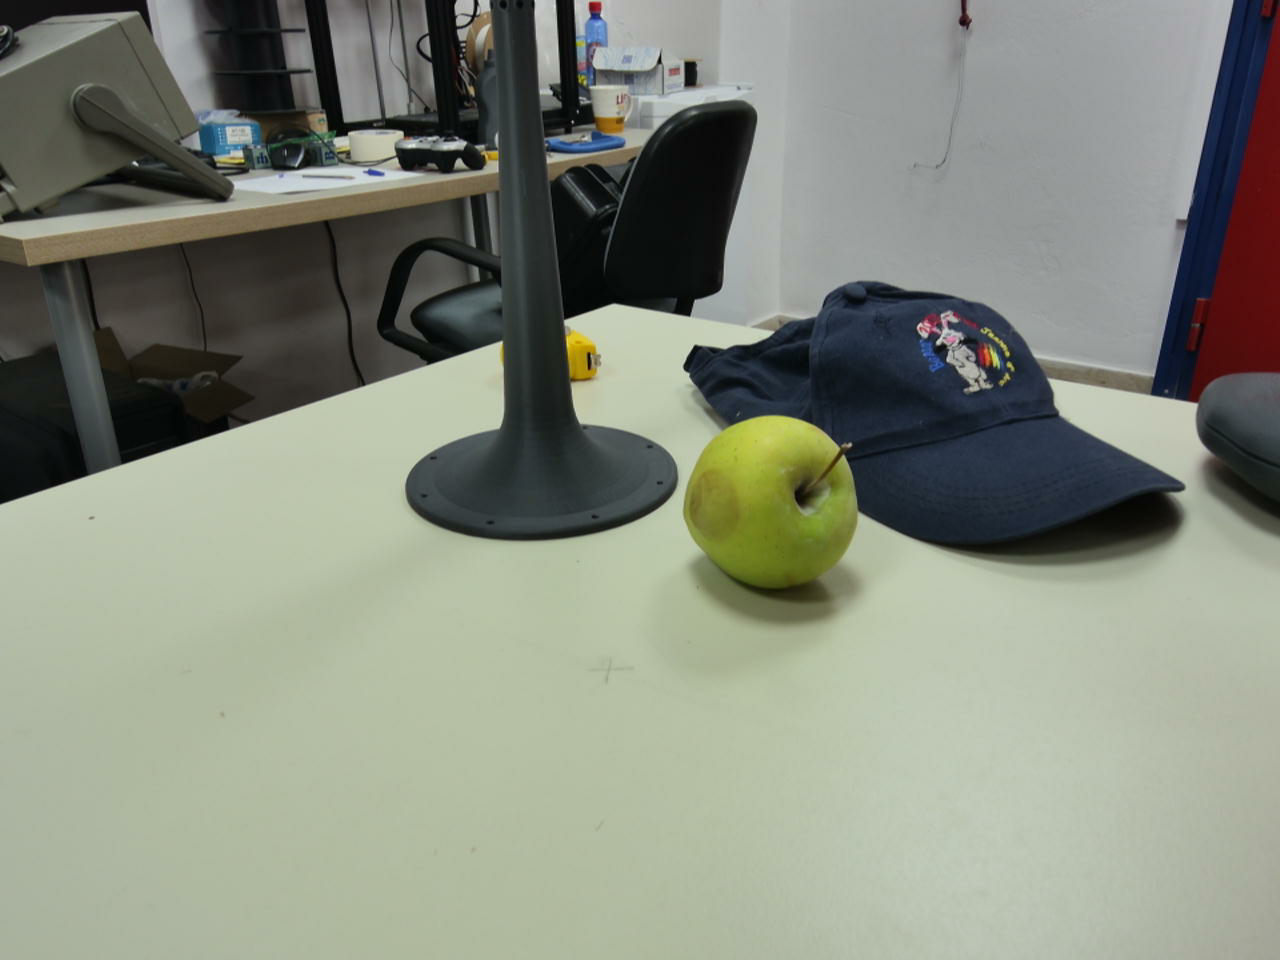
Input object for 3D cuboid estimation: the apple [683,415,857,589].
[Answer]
[{"bbox_3d":[0.057,0.008,0.439,0.072,0.075,0.077,-2,23,-7],"label":"apple"}]
